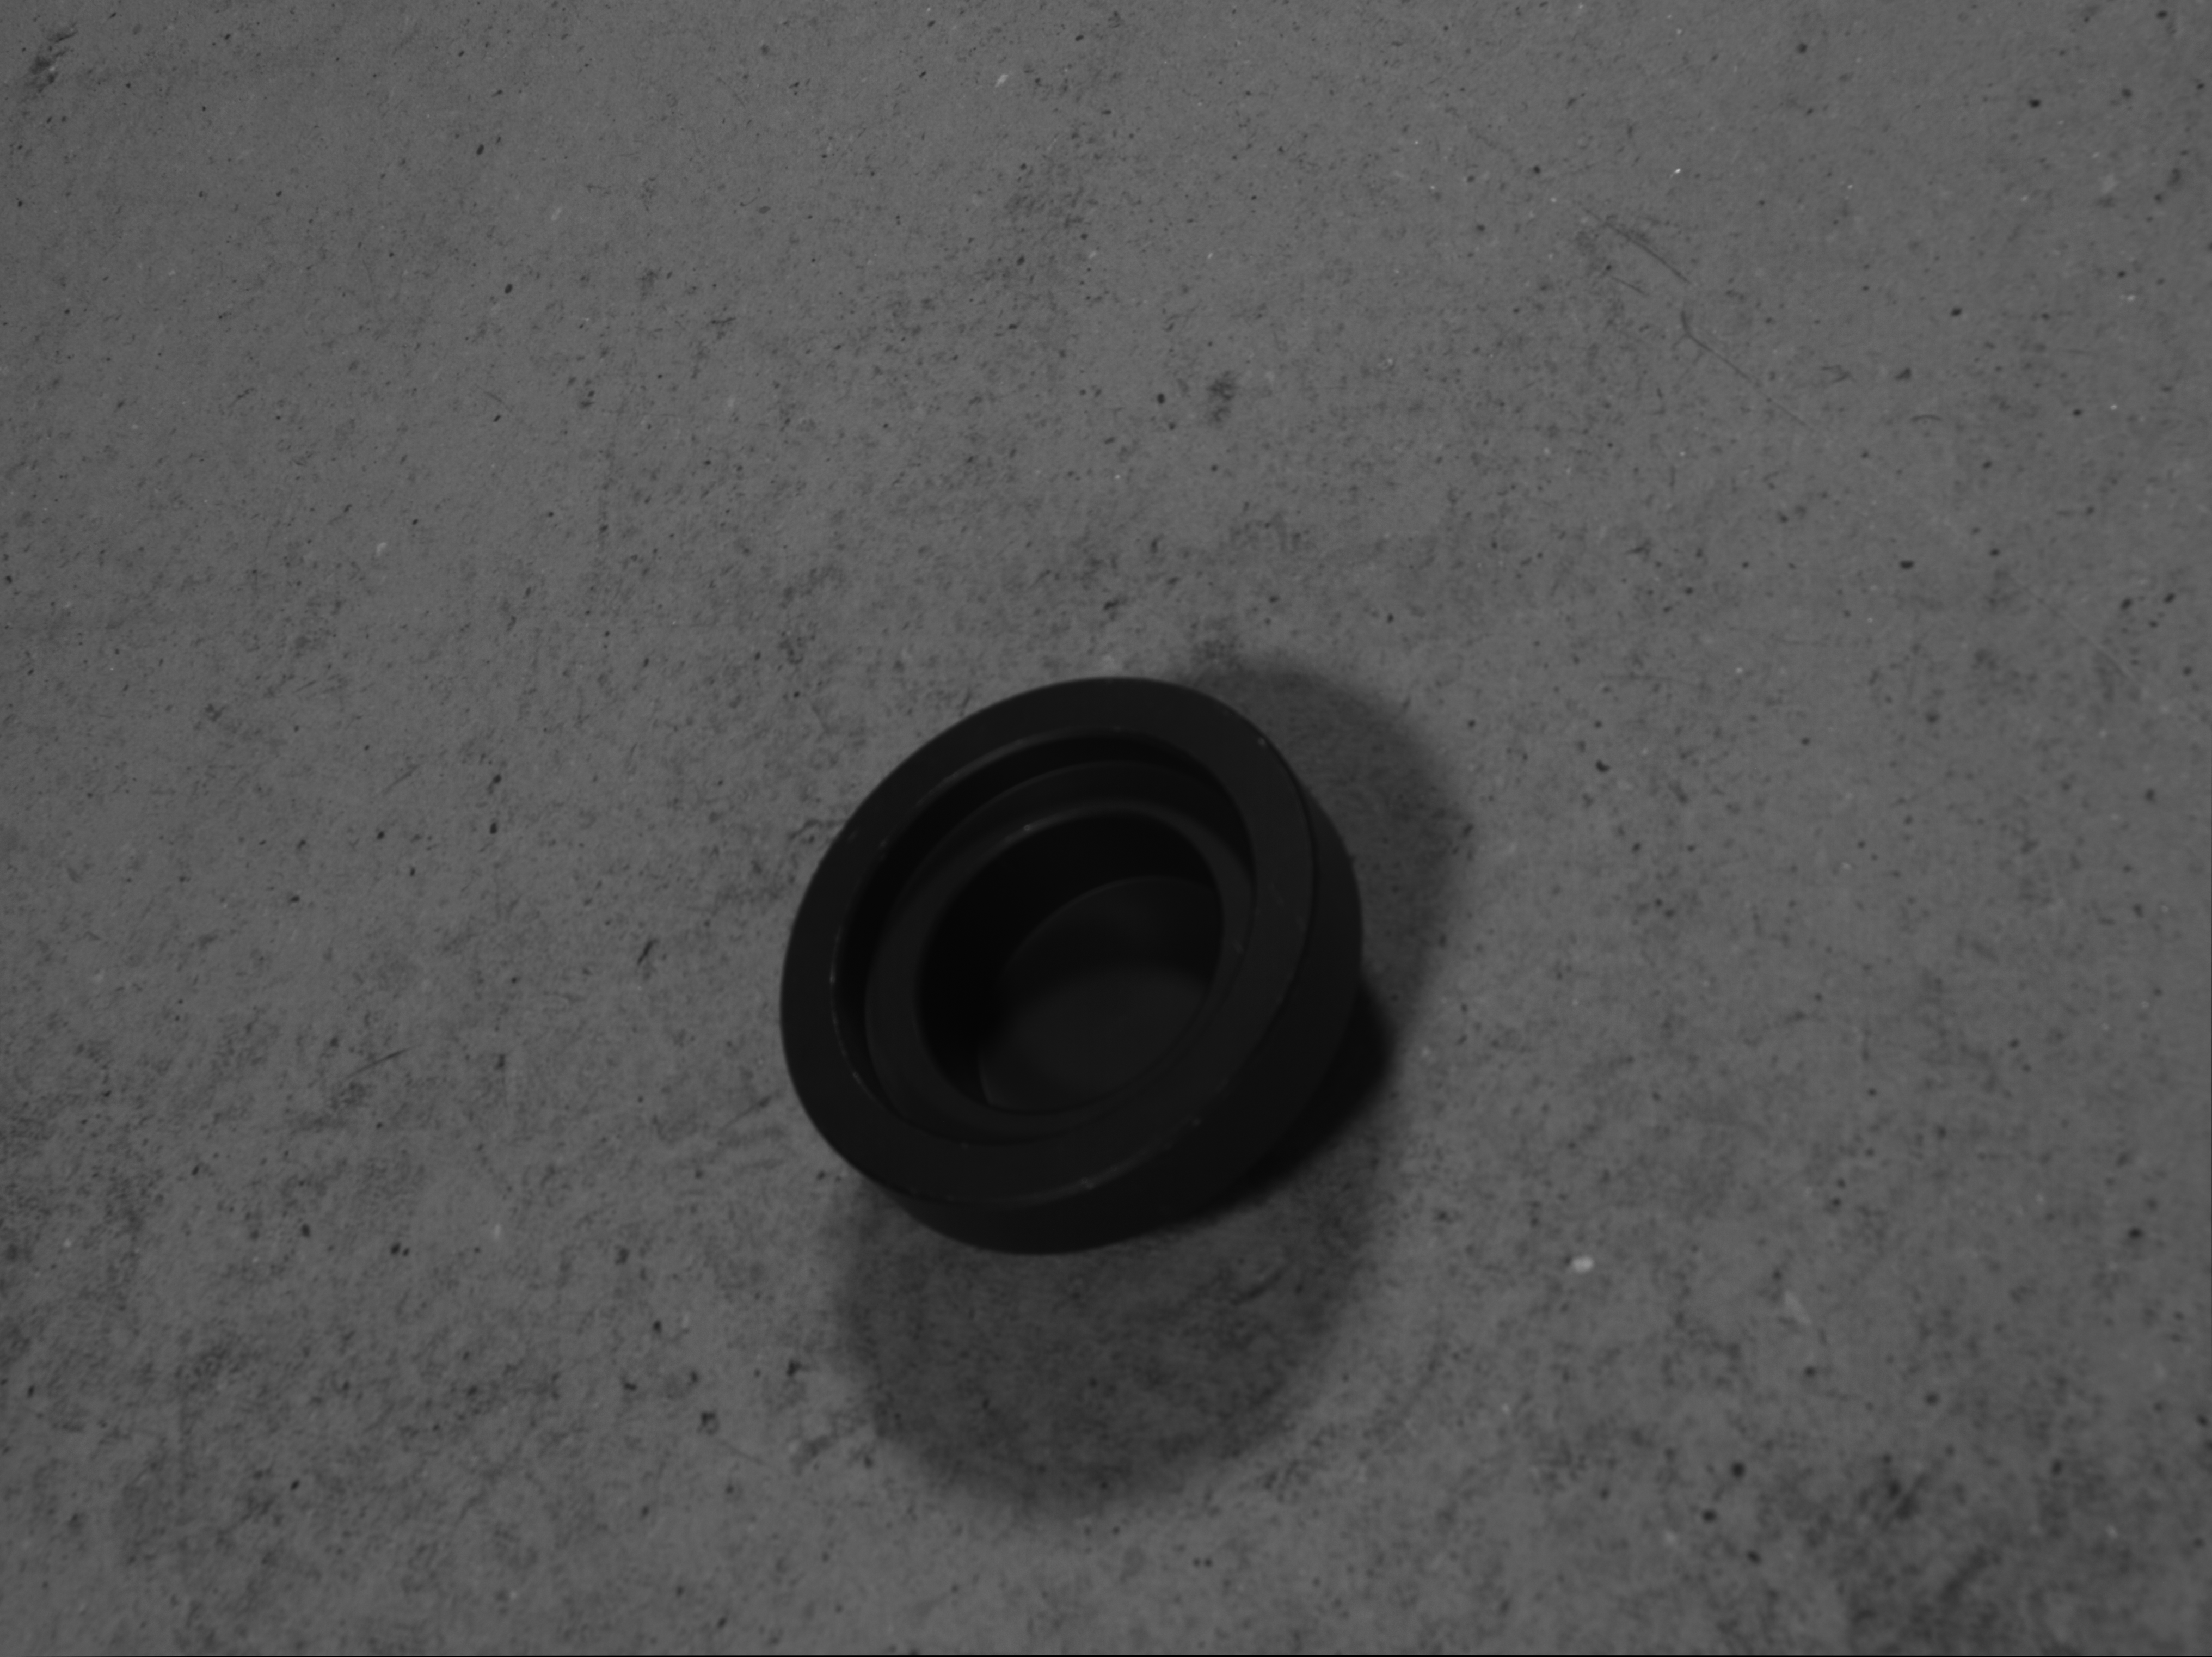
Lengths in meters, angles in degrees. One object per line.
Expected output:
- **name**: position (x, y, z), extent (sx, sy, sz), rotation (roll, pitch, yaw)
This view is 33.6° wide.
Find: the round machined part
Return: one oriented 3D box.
- **round machined part**: position (0.000, 0.027, 0.617), extent (0.098, 0.042, 0.098), rotation (-13, 56, 21)
